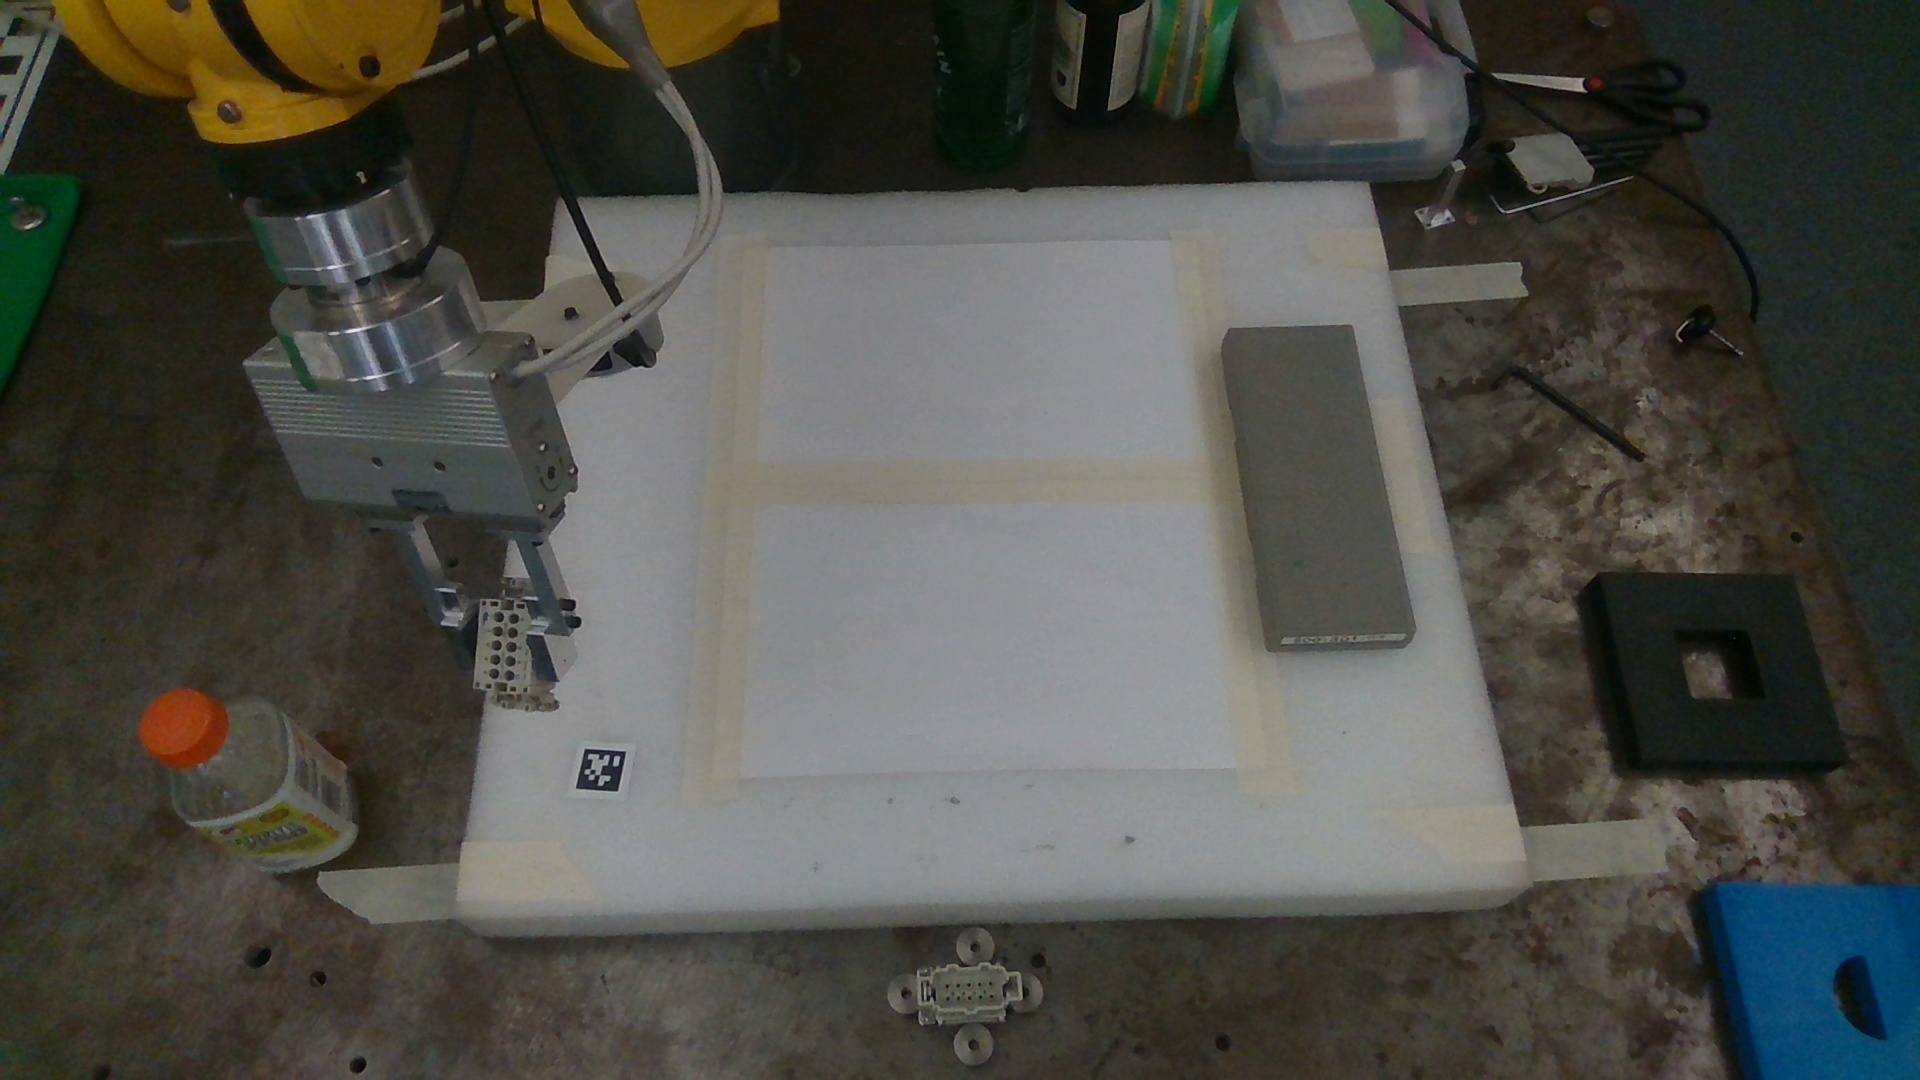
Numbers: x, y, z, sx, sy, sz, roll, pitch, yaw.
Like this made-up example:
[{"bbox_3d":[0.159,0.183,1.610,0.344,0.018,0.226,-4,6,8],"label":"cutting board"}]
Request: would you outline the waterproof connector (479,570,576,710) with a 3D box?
[{"bbox_3d":[-0.216,0.050,0.699,0.037,0.038,0.069,5,92,22],"label":"waterproof connector"}]
